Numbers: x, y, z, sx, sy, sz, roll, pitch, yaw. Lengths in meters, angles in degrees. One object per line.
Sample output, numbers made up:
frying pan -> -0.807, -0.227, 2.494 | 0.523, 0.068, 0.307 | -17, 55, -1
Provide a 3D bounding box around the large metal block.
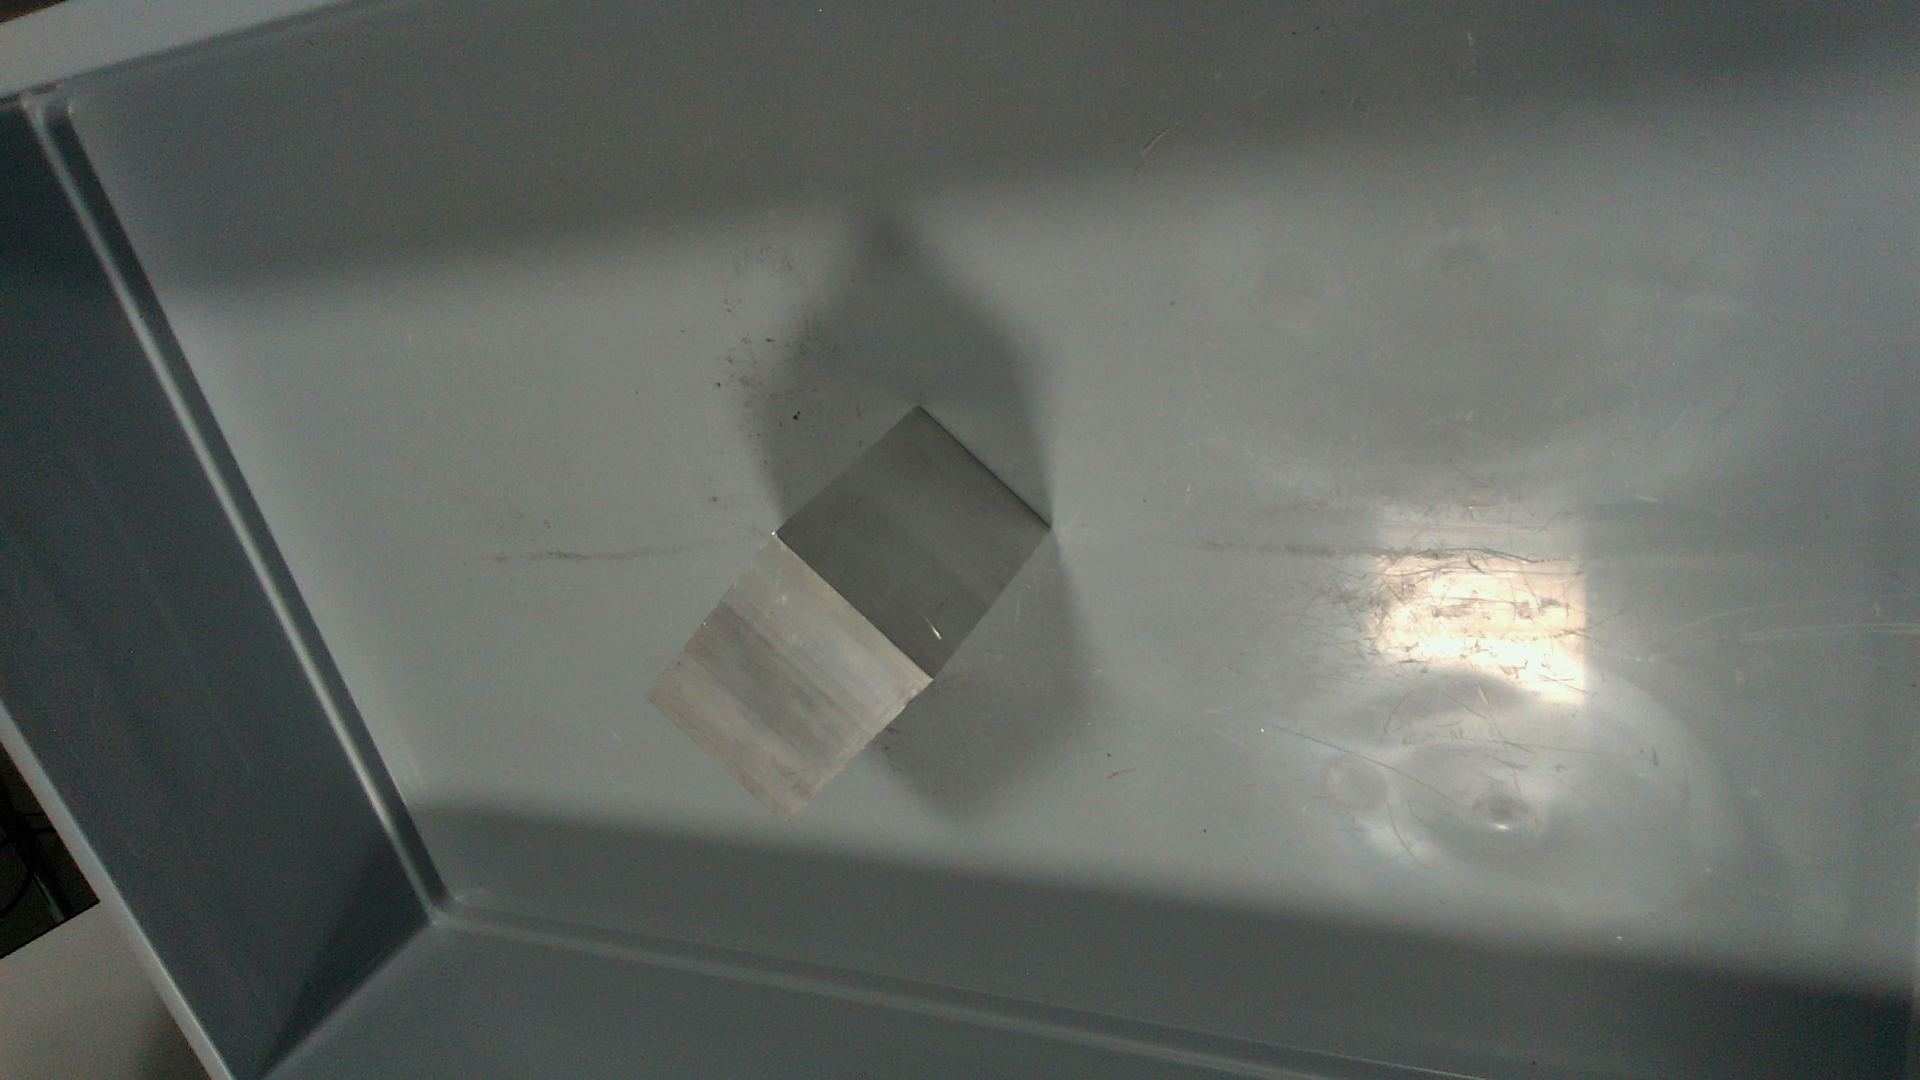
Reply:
large metal block -> -0.030, 0.020, 0.382 | 0.050, 0.080, 0.080 | 42, 129, -1
